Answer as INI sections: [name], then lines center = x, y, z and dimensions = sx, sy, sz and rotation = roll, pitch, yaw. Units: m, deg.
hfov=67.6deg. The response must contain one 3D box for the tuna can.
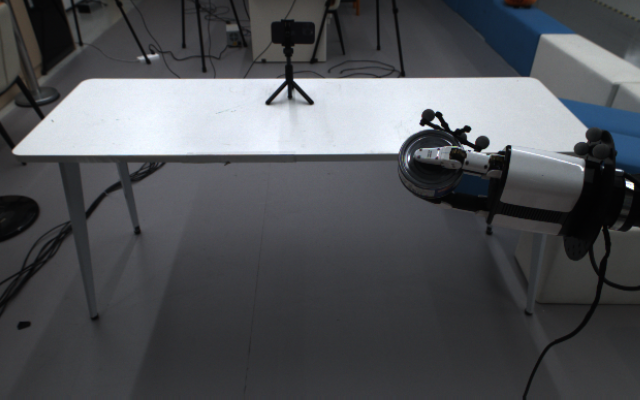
[tuna can]
center = 0.146, -0.050, 0.627
dimensions = 0.085, 0.034, 0.085
rotation = -4, 69, 10
